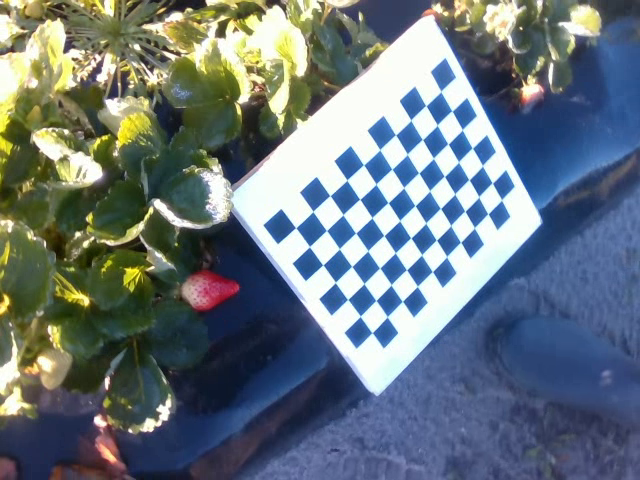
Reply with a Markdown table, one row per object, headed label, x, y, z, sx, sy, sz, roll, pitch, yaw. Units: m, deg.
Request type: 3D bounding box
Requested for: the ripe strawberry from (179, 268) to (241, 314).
| label | x | y | z | sx | sy | sz | roll | pitch | yaw |
| --- | --- | --- | --- | --- | --- | --- | --- | --- | --- |
| ripe strawberry | -0.109 | 0.055 | 0.651 | 0.065 | 0.040 | 0.040 | 0 | 4 | -27 |
